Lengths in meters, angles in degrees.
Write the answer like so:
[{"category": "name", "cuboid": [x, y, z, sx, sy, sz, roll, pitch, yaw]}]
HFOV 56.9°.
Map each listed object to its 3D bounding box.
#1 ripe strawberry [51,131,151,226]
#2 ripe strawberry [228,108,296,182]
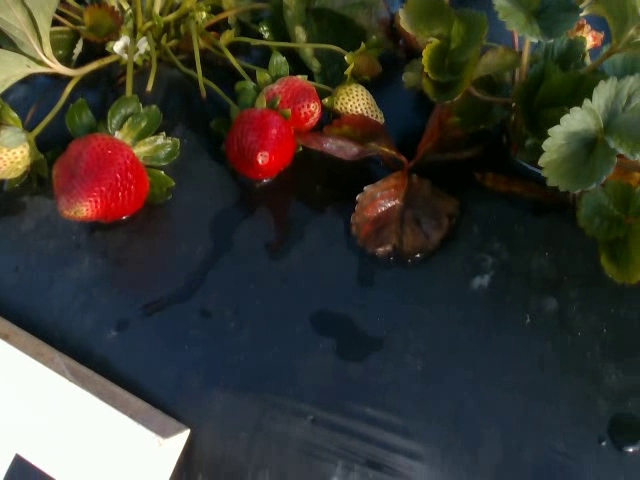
[{"category": "ripe strawberry", "cuboid": [-0.115, -0.029, 0.292, 0.050, 0.049, 0.065, -18, 23, 15]}, {"category": "ripe strawberry", "cuboid": [-0.033, -0.047, 0.312, 0.045, 0.041, 0.055, -41, 22, 9]}]
